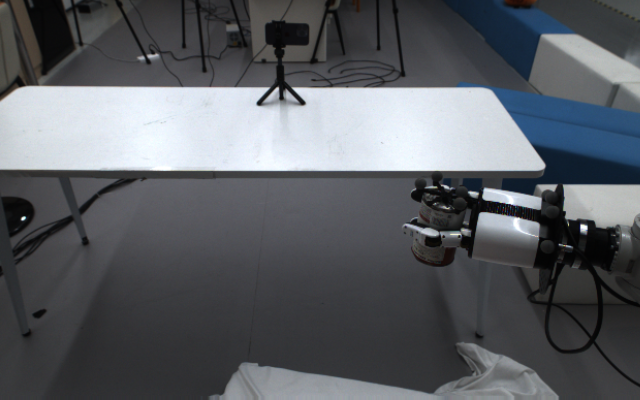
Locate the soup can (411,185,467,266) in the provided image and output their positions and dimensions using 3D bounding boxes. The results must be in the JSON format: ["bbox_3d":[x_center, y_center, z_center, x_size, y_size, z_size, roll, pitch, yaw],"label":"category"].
[{"bbox_3d":[0.182,0.041,0.738,0.067,0.101,0.067,4,30,-2],"label":"soup can"}]
